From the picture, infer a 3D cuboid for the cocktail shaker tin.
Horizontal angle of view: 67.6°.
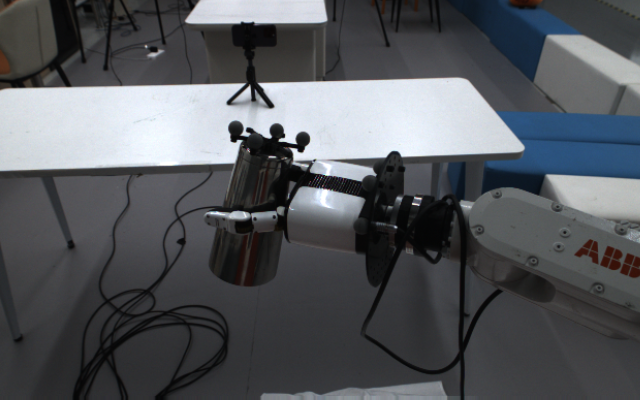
[{"bbox_3d":[-0.081,0.011,0.613,0.093,0.170,0.093,12,24,-5],"label":"cocktail shaker tin"}]
